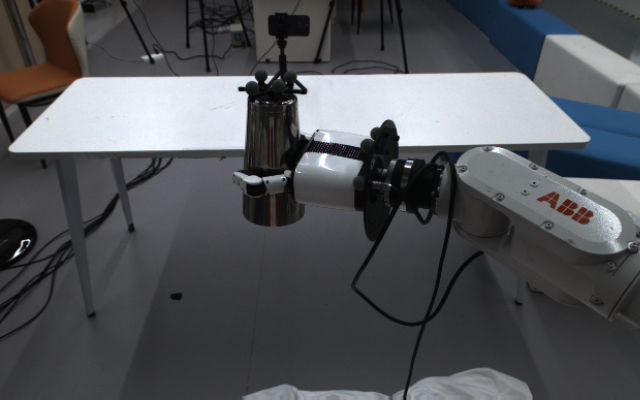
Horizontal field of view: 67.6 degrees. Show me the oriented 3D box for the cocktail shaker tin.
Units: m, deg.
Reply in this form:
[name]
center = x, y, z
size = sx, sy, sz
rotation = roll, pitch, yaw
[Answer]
[cocktail shaker tin]
center = -0.063, -0.060, 0.670
size = 0.093, 0.170, 0.093
rotation = 2, 28, -1
